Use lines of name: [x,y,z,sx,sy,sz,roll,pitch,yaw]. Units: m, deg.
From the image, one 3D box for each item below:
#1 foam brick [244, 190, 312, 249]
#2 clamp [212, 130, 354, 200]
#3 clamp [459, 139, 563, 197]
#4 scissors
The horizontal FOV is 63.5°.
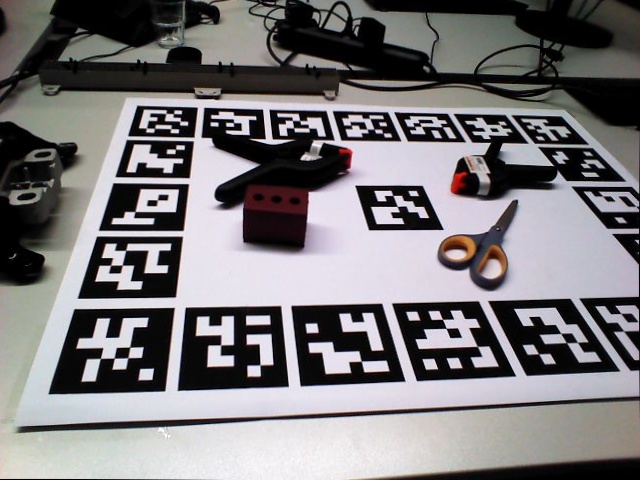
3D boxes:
foam brick: [-0.050,-0.025,0.639,0.078,0.051,0.052,2,43,1]
clamp: [-0.049,-0.113,0.744,0.203,0.037,0.165,-3,40,-12]
clamp: [0.275,-0.106,0.785,0.164,0.037,0.122,-22,56,-27]
scissors: [0.229,-0.006,0.673,0.088,0.016,0.201,32,46,15]
